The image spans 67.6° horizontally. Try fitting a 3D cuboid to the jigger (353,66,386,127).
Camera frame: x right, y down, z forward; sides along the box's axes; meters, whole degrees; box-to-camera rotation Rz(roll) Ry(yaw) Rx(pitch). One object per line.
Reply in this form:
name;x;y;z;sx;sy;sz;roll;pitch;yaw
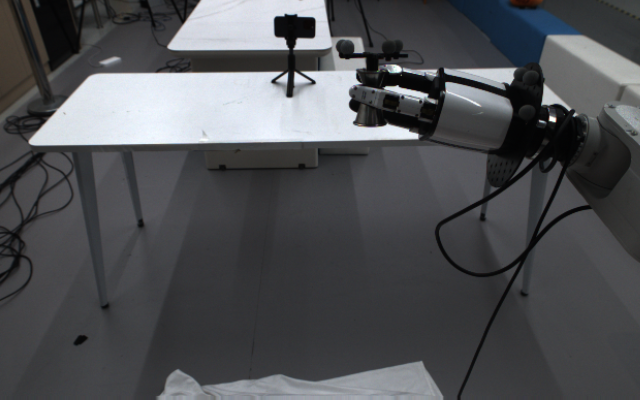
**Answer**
jigger;0.064;-0.131;0.617;0.043;0.071;0.043;0;21;0
